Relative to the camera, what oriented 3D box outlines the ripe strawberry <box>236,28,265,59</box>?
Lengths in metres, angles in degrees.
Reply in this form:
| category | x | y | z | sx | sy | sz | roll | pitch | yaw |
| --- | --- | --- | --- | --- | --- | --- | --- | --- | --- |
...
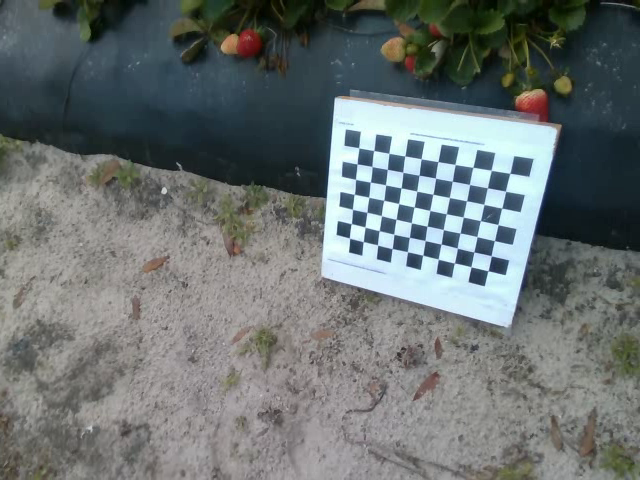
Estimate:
| category | x | y | z | sx | sy | sz | roll | pitch | yaw |
| --- | --- | --- | --- | --- | --- | --- | --- | --- | --- |
| ripe strawberry | -0.102 | -0.270 | 1.021 | 0.041 | 0.034 | 0.033 | -41 | -14 | -27 |
